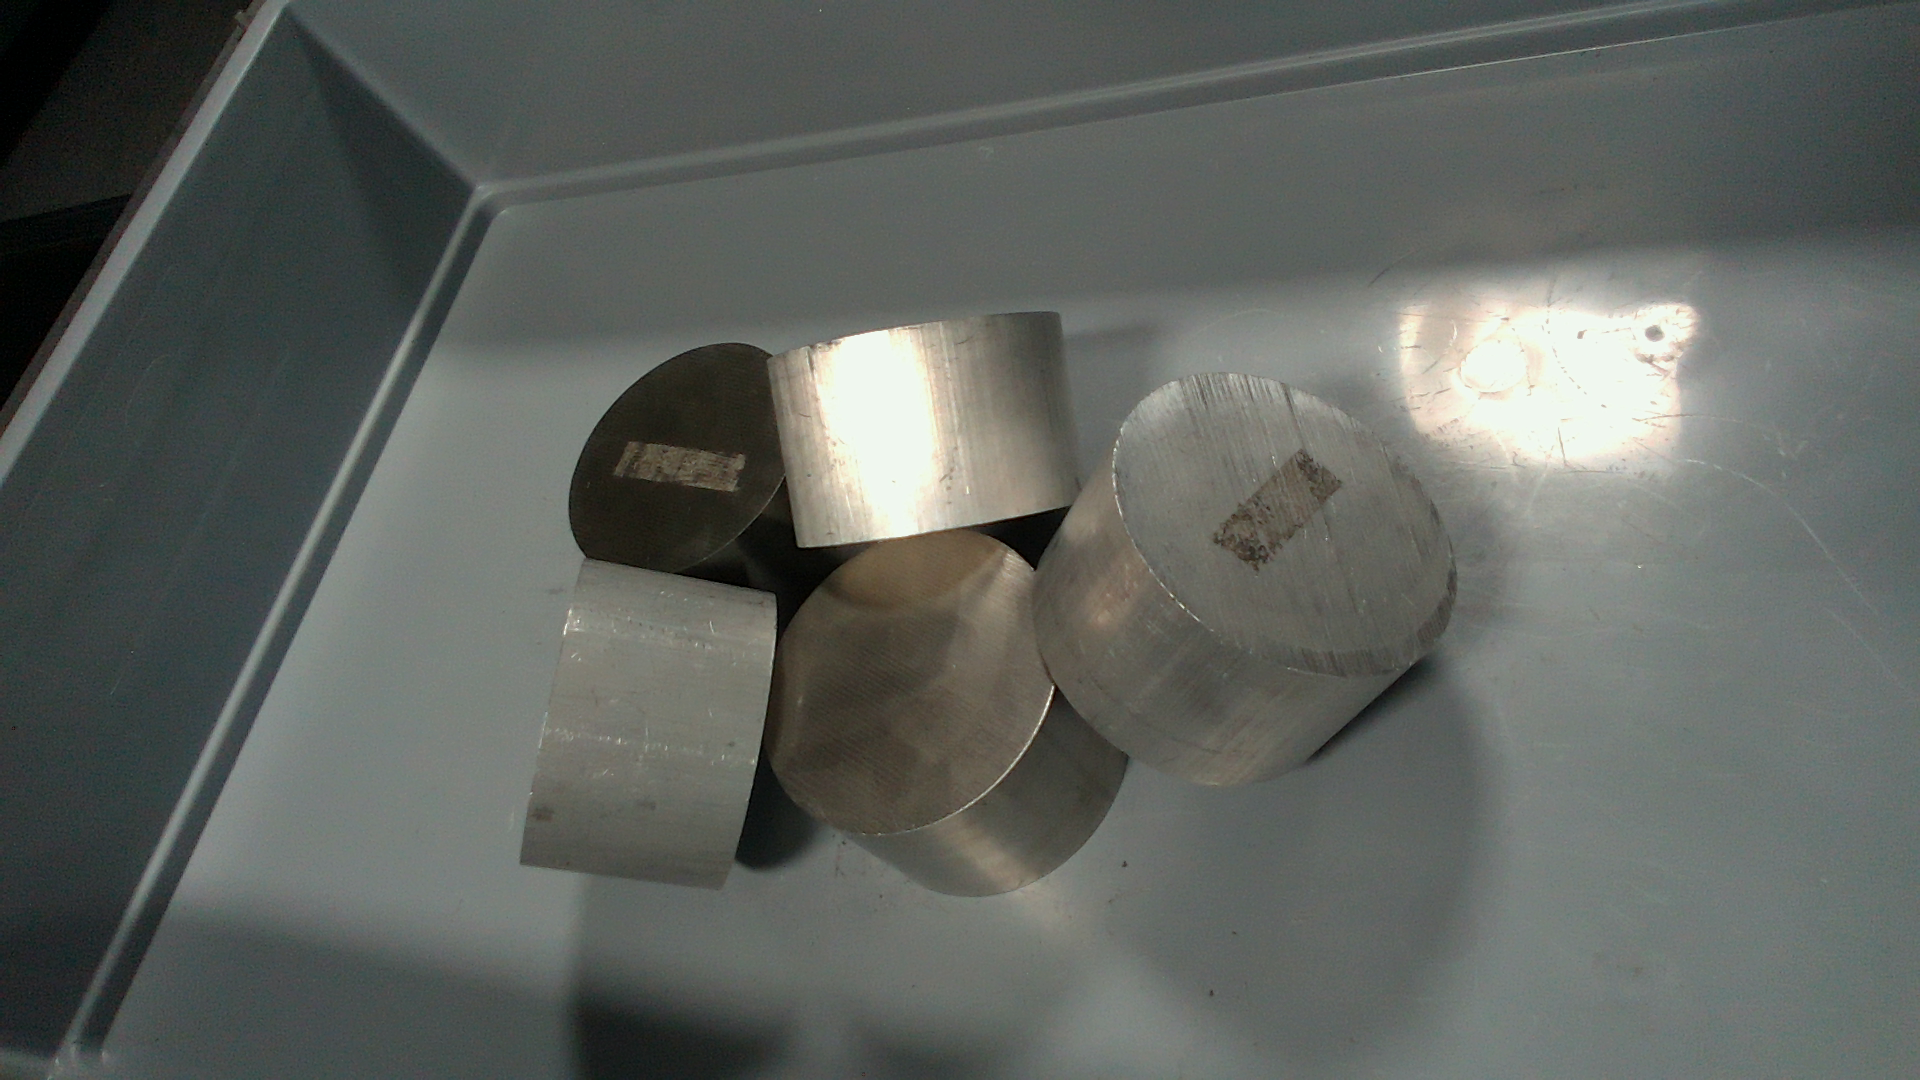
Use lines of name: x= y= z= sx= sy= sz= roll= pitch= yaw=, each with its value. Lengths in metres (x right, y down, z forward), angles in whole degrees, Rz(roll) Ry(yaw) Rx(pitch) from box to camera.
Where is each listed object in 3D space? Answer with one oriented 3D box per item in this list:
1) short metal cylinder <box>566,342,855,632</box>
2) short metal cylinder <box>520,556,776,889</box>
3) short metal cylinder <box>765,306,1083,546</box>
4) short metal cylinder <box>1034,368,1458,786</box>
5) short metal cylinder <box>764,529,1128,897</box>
short metal cylinder: x=-0.072 y=-0.013 z=0.422 sx=0.080 sy=0.050 sz=0.080 roll=-14 pitch=56 yaw=21
short metal cylinder: x=-0.082 y=0.048 z=0.363 sx=0.050 sy=0.080 sz=0.080 roll=11 pitch=59 yaw=-13
short metal cylinder: x=-0.009 y=-0.030 z=0.371 sx=0.080 sy=0.080 sz=0.050 roll=-8 pitch=94 yaw=24
short metal cylinder: x=0.063 y=0.008 z=0.311 sx=0.080 sy=0.050 sz=0.080 roll=11 pitch=52 yaw=-14
short metal cylinder: x=-0.003 y=0.044 z=0.350 sx=0.080 sy=0.050 sz=0.080 roll=-14 pitch=56 yaw=21
